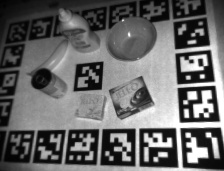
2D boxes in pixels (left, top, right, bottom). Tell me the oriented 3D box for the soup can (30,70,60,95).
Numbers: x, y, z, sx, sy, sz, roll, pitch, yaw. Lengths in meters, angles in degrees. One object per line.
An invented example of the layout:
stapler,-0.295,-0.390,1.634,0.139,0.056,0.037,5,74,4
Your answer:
soup can,-0.223,-0.016,0.700,0.067,0.103,0.067,-6,67,14

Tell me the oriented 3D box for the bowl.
bowl,0.056,-0.151,0.702,0.160,0.056,0.161,-6,68,17

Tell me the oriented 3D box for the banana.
banana,-0.245,-0.105,0.786,0.197,0.039,0.073,-48,54,-4

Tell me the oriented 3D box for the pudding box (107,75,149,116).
pudding box,0.043,0.029,0.645,0.113,0.039,0.089,-27,70,7

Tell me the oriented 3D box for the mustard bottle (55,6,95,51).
mustard bottle,-0.131,-0.183,0.680,0.095,0.193,0.058,-4,67,17

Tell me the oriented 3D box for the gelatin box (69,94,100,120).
gelatin box,-0.087,0.066,0.677,0.088,0.030,0.073,3,75,19
